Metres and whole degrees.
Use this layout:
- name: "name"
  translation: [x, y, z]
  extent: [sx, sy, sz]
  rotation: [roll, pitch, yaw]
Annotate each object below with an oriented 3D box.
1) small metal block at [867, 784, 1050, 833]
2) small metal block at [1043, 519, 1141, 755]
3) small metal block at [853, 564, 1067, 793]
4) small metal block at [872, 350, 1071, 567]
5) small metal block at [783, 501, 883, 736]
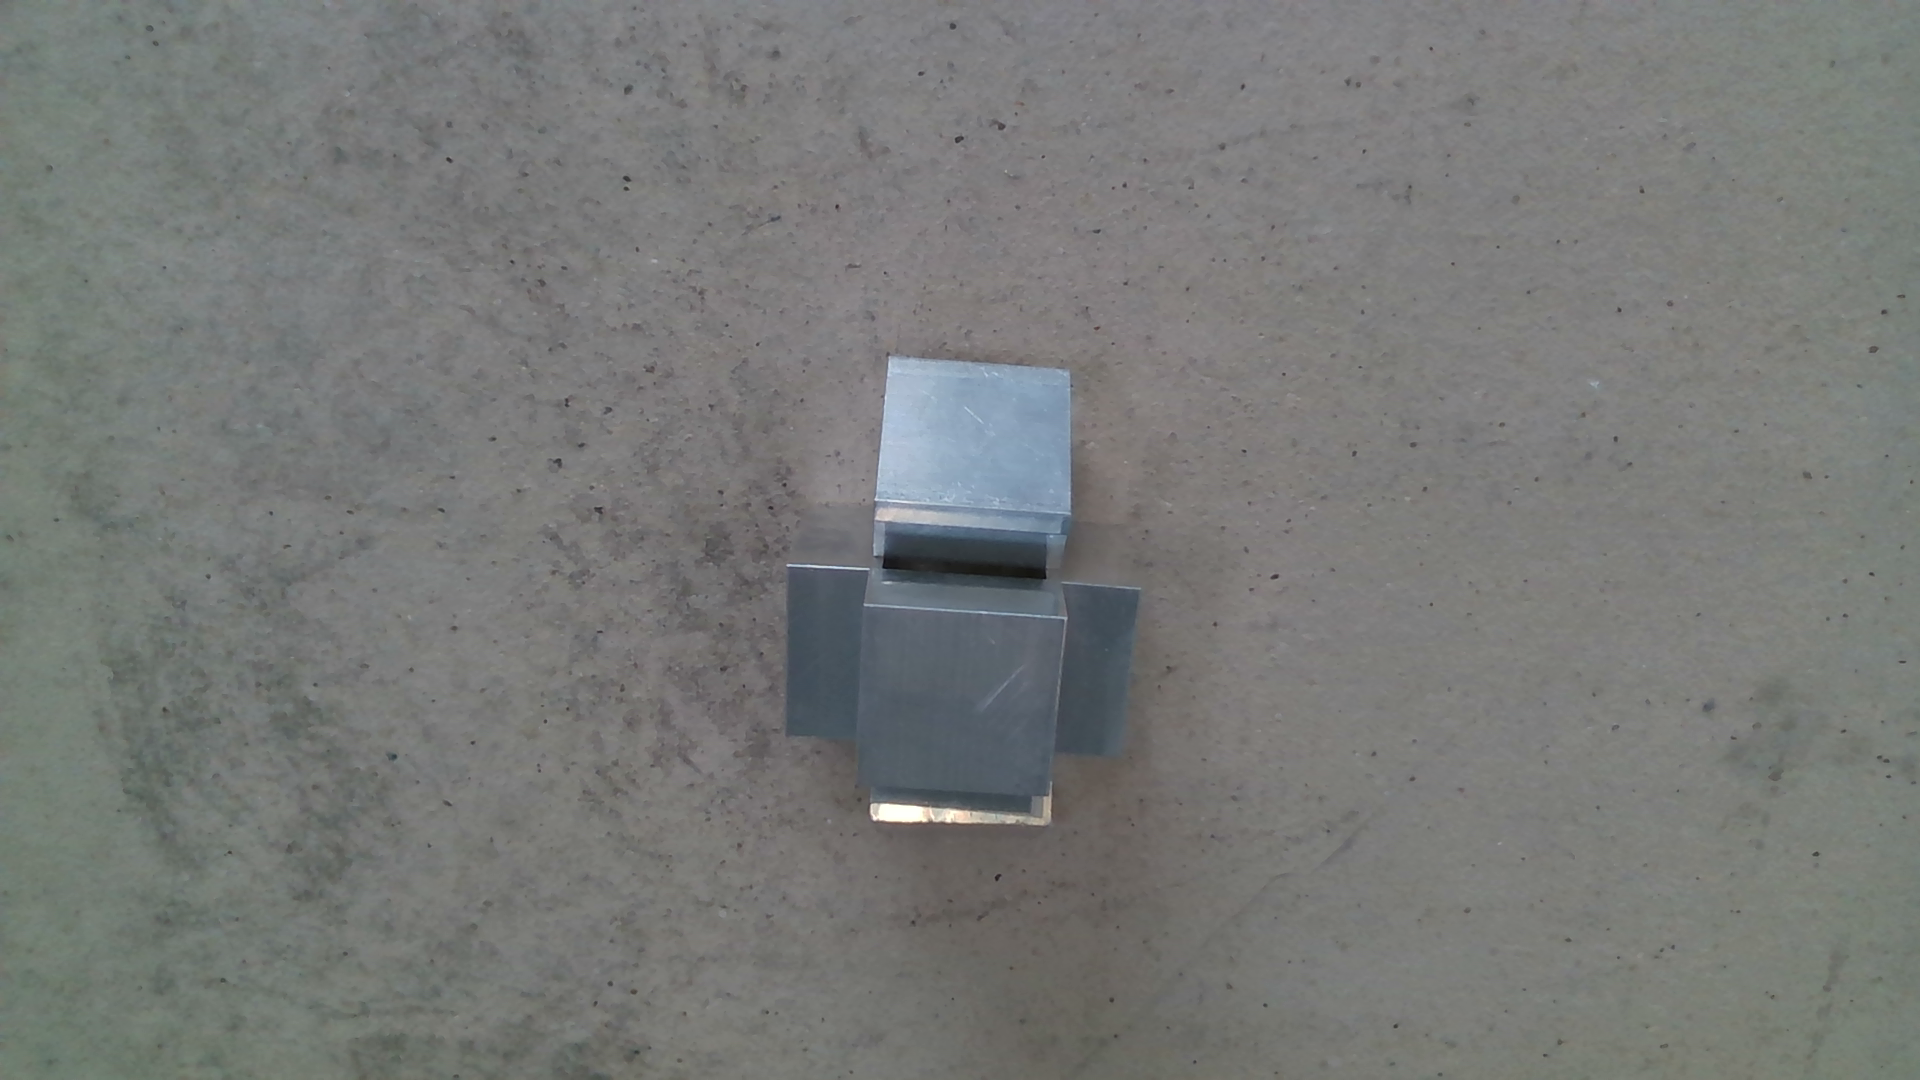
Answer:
- name: "small metal block"
  translation: [0.000, 0.072, 0.404]
  extent: [0.050, 0.050, 0.025]
  rotation: [2, 74, 0]
- name: "small metal block"
  translation: [0.033, 0.026, 0.390]
  extent: [0.025, 0.050, 0.050]
  rotation: [4, 110, -1]
- name: "small metal block"
  translation: [-0.001, 0.035, 0.354]
  extent: [0.050, 0.025, 0.050]
  rotation: [4, 110, -1]
- name: "small metal block"
  translation: [0.003, -0.022, 0.370]
  extent: [0.050, 0.050, 0.025]
  rotation: [4, 145, -1]
- name: "small metal block"
  translation: [-0.034, 0.021, 0.389]
  extent: [0.025, 0.050, 0.050]
  rotation: [3, 110, -1]
